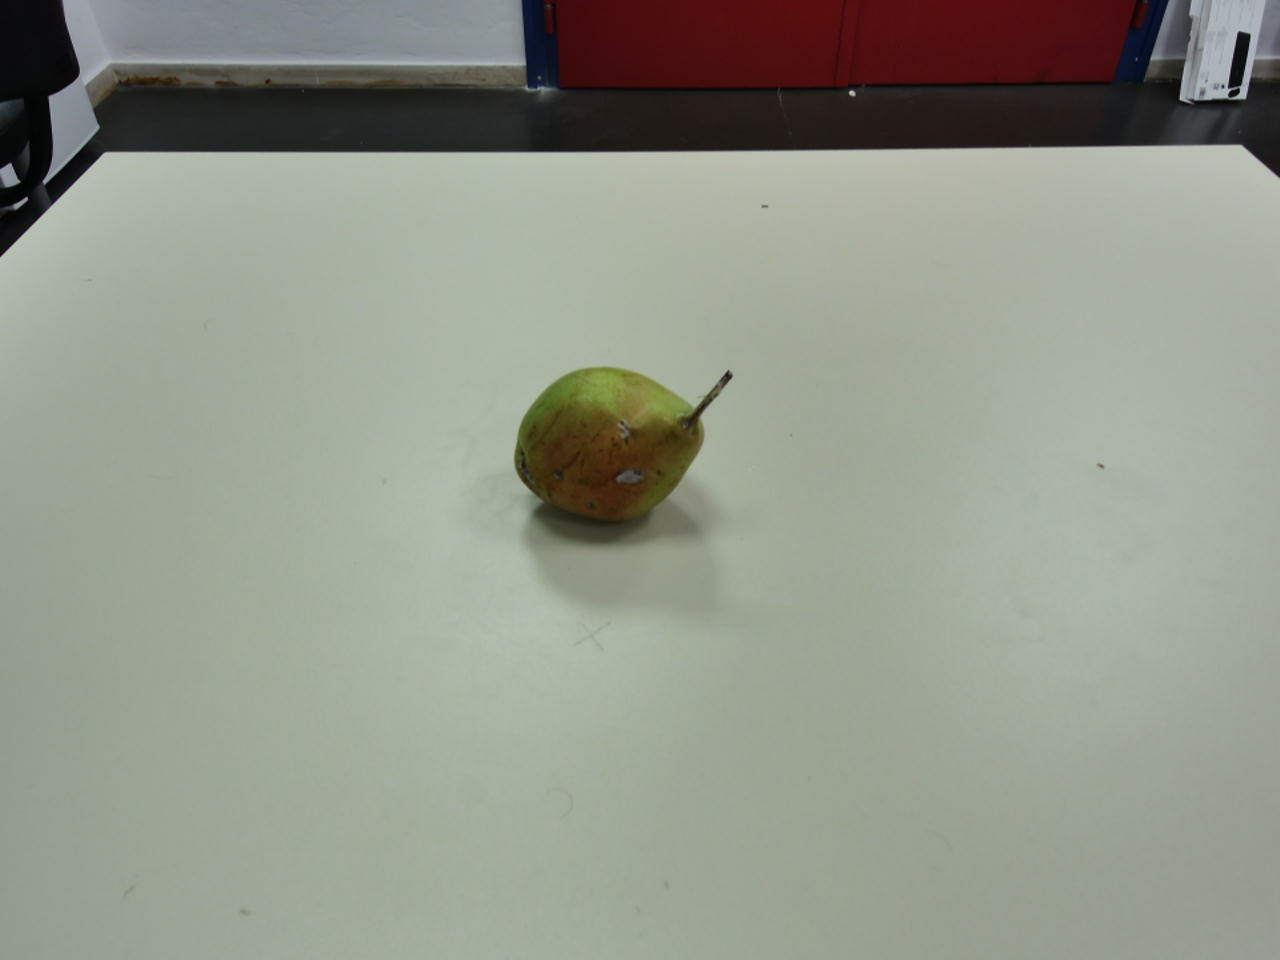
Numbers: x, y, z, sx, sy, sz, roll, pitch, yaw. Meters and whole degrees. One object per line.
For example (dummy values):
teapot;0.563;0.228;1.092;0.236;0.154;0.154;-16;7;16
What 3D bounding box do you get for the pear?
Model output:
pear;-0.013;-0.016;0.402;0.068;0.069;0.070;-27;45;-29
